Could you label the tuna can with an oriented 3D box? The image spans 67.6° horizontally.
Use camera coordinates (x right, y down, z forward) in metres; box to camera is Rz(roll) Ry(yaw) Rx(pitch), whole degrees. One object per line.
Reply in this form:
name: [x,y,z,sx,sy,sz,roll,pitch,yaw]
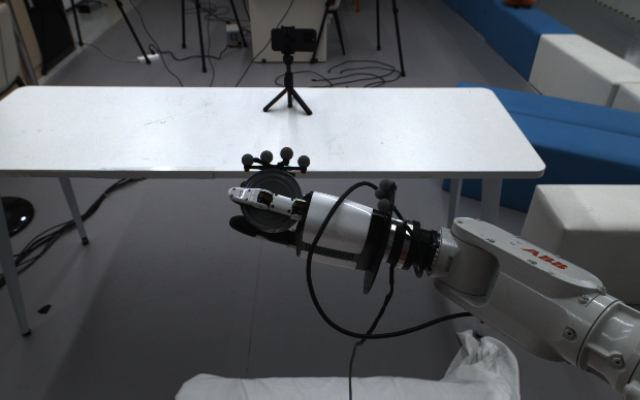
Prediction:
tuna can: [-0.065,0.002,0.668,0.085,0.034,0.085,-1,77,4]
